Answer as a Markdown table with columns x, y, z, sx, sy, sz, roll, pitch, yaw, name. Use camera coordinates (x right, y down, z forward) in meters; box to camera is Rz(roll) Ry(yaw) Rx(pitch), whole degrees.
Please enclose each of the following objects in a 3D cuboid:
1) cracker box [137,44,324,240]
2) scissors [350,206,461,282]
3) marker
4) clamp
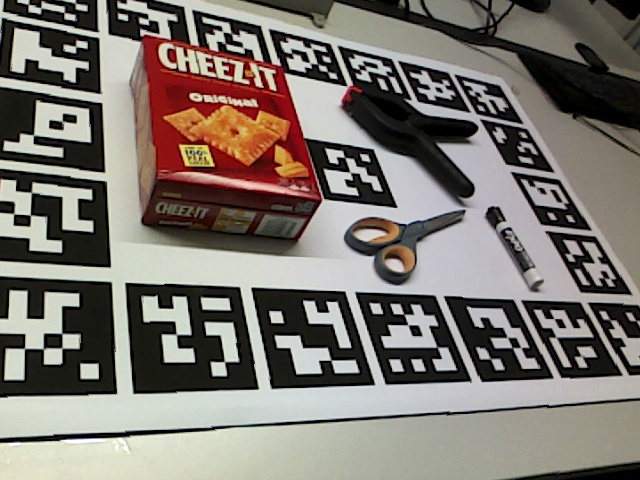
| x | y | z | sx | sy | sz | roll | pitch | yaw | name |
| --- | --- | --- | --- | --- | --- | --- | --- | --- | --- |
| -0.101 | -0.107 | 0.654 | 0.163 | 0.072 | 0.214 | 5 | 48 | -26 | cracker box |
| 0.115 | -0.013 | 0.729 | 0.088 | 0.016 | 0.202 | 46 | 42 | 17 | scissors |
| 0.242 | -0.001 | 0.790 | 0.019 | 0.019 | 0.121 | 1 | 50 | -29 | marker |
| 0.110 | -0.153 | 0.865 | 0.202 | 0.037 | 0.165 | 27 | 41 | -6 | clamp |
